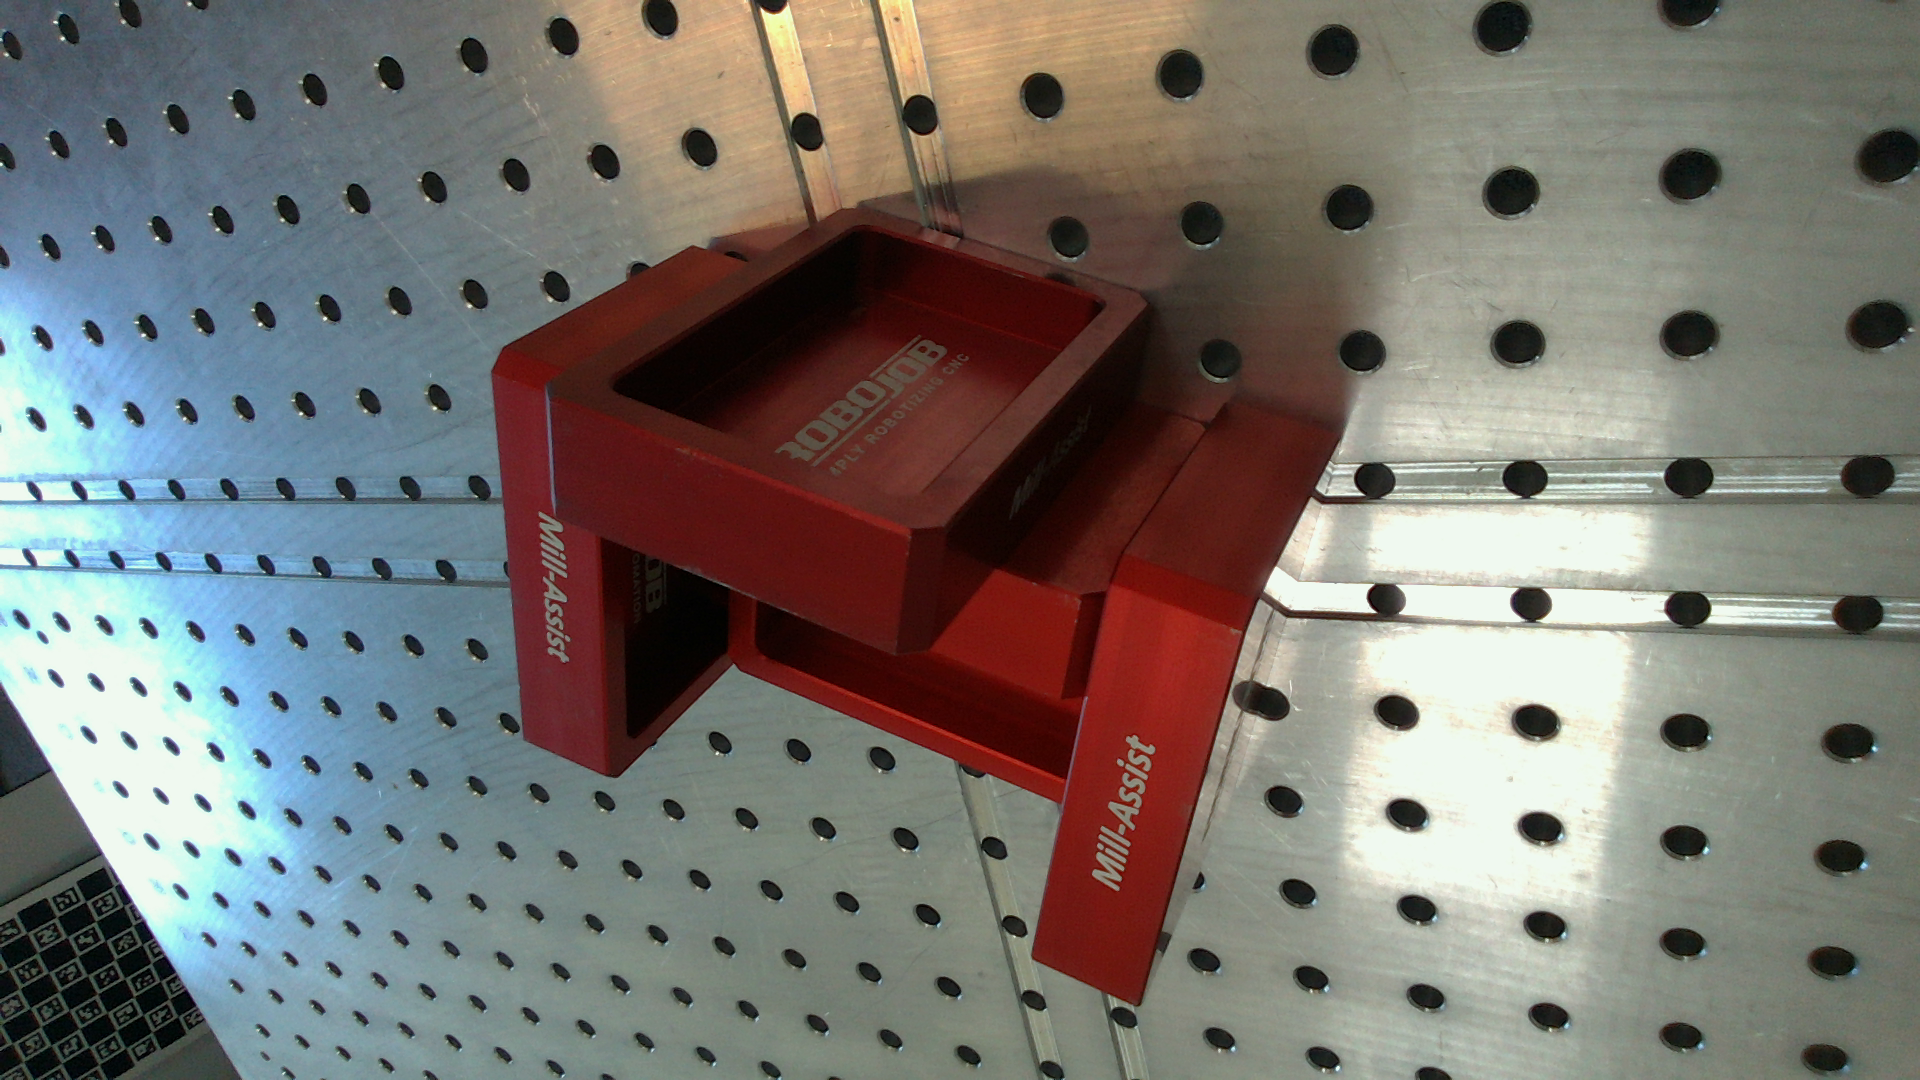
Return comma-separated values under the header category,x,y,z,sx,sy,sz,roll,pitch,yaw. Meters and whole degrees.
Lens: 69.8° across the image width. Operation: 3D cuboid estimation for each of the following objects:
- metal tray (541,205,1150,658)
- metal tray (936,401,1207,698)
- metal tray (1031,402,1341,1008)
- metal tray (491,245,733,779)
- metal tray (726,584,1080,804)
category,x,y,z,sx,sy,sz,roll,pitch,yaw
metal tray,-0.020,-0.034,0.317,0.090,0.130,0.030,20,127,16
metal tray,-0.011,-0.017,0.349,0.130,0.090,0.030,20,126,16
metal tray,0.057,0.042,0.349,0.030,0.090,0.130,20,126,17
metal tray,-0.088,-0.008,0.396,0.030,0.090,0.130,19,126,16
metal tray,-0.005,0.019,0.406,0.130,0.030,0.090,20,126,16
